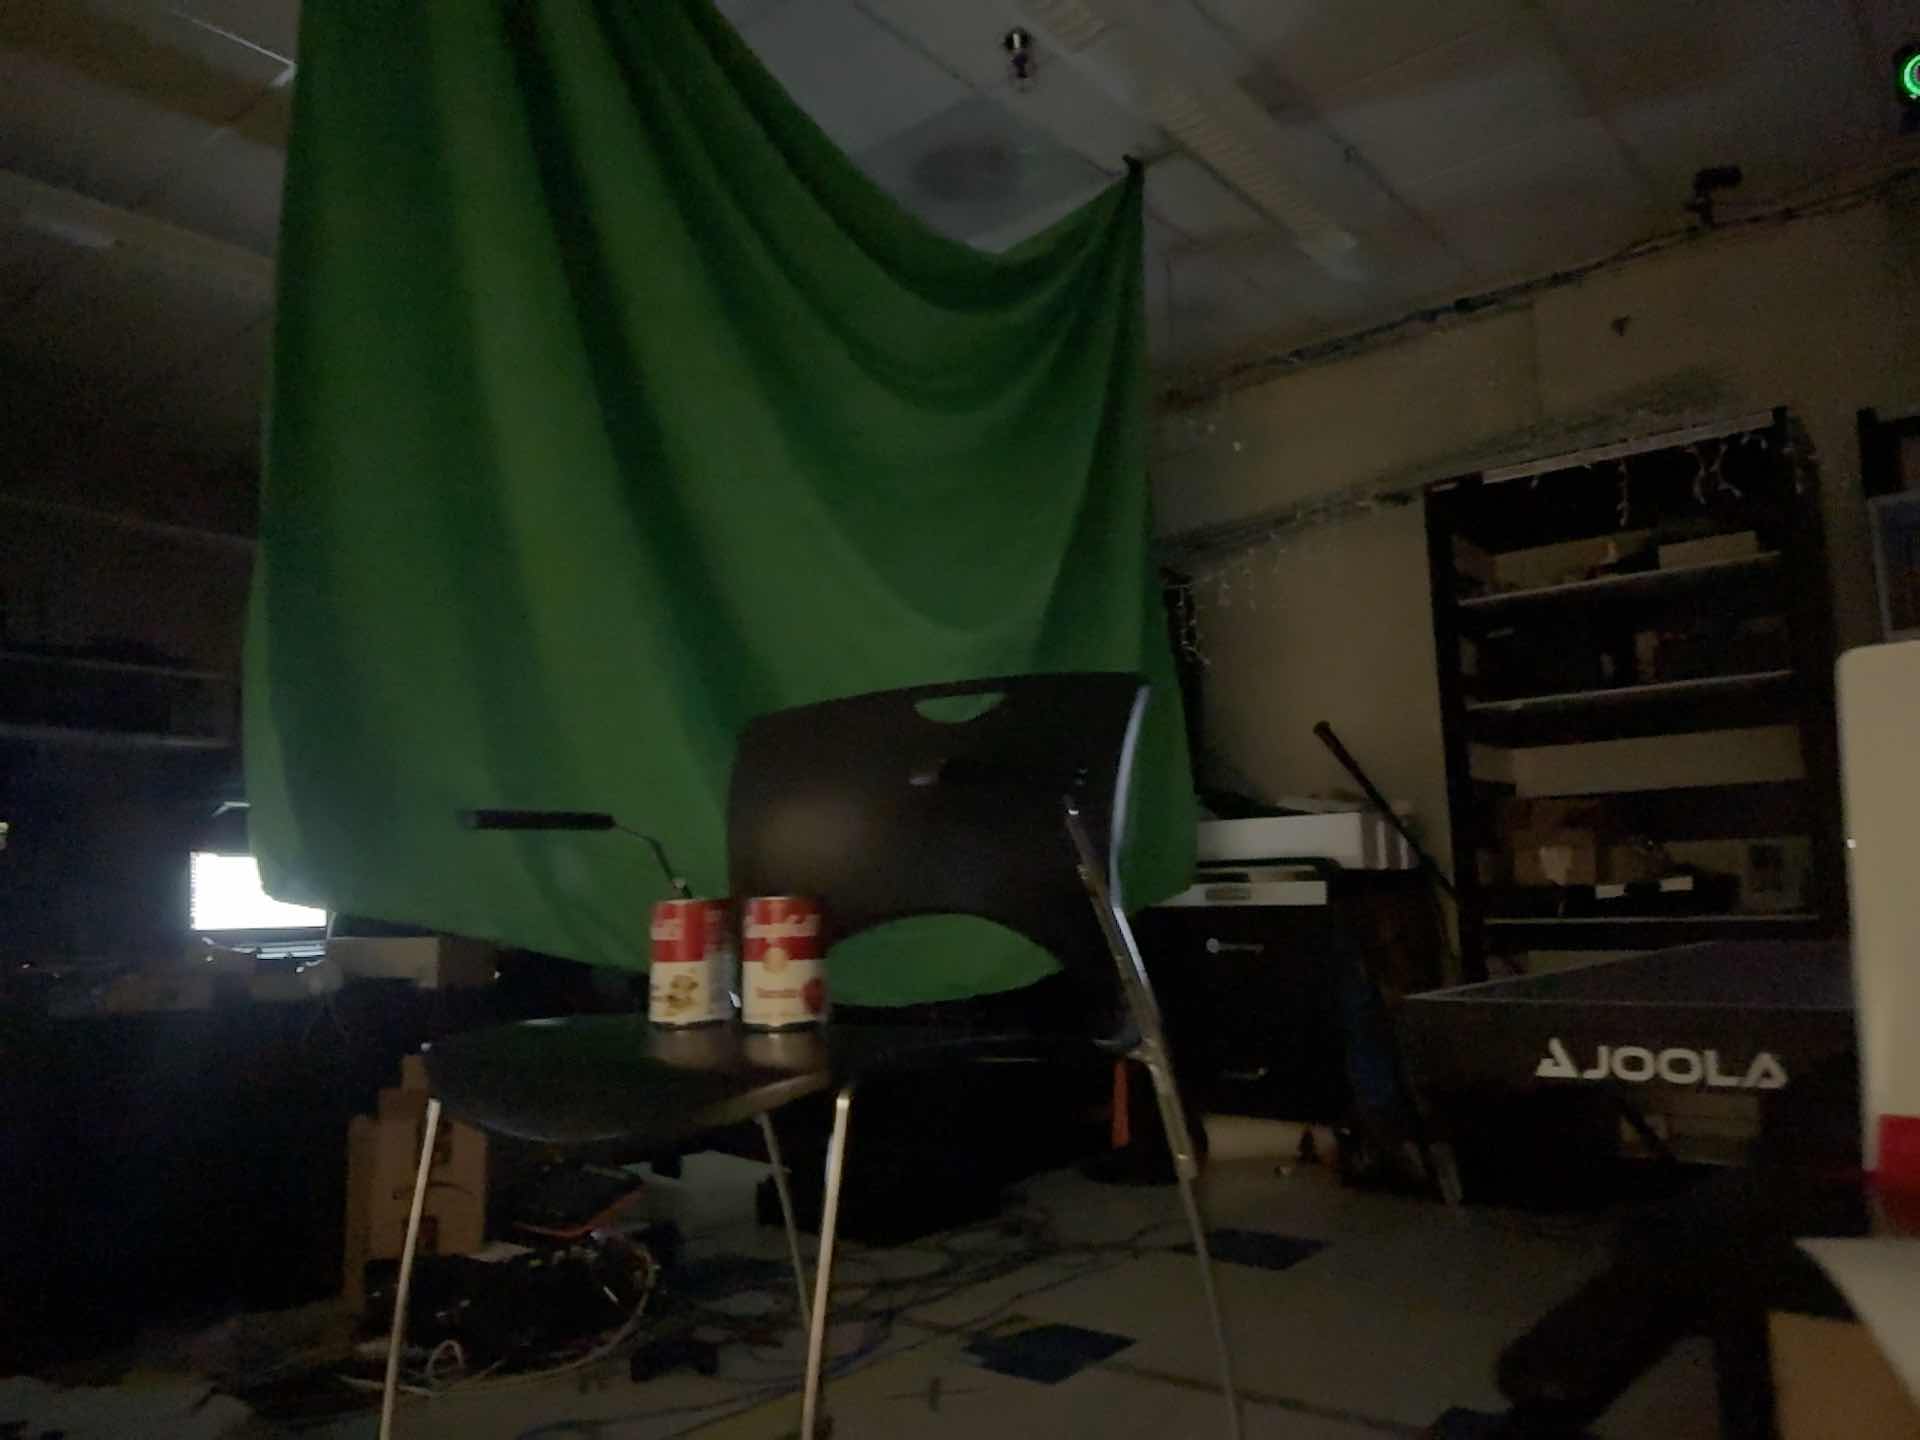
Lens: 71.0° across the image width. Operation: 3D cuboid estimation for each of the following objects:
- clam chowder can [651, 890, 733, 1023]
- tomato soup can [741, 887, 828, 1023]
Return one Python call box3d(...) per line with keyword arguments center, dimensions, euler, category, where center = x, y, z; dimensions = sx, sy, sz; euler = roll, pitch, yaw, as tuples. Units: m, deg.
box3d(center=(-0.223, 0.195, 1.122), dimensions=(0.068, 0.102, 0.068), euler=(-1, -3, 0), category="clam chowder can")
box3d(center=(-0.139, 0.184, 1.066), dimensions=(0.067, 0.102, 0.067), euler=(0, -4, 0), category="tomato soup can")
